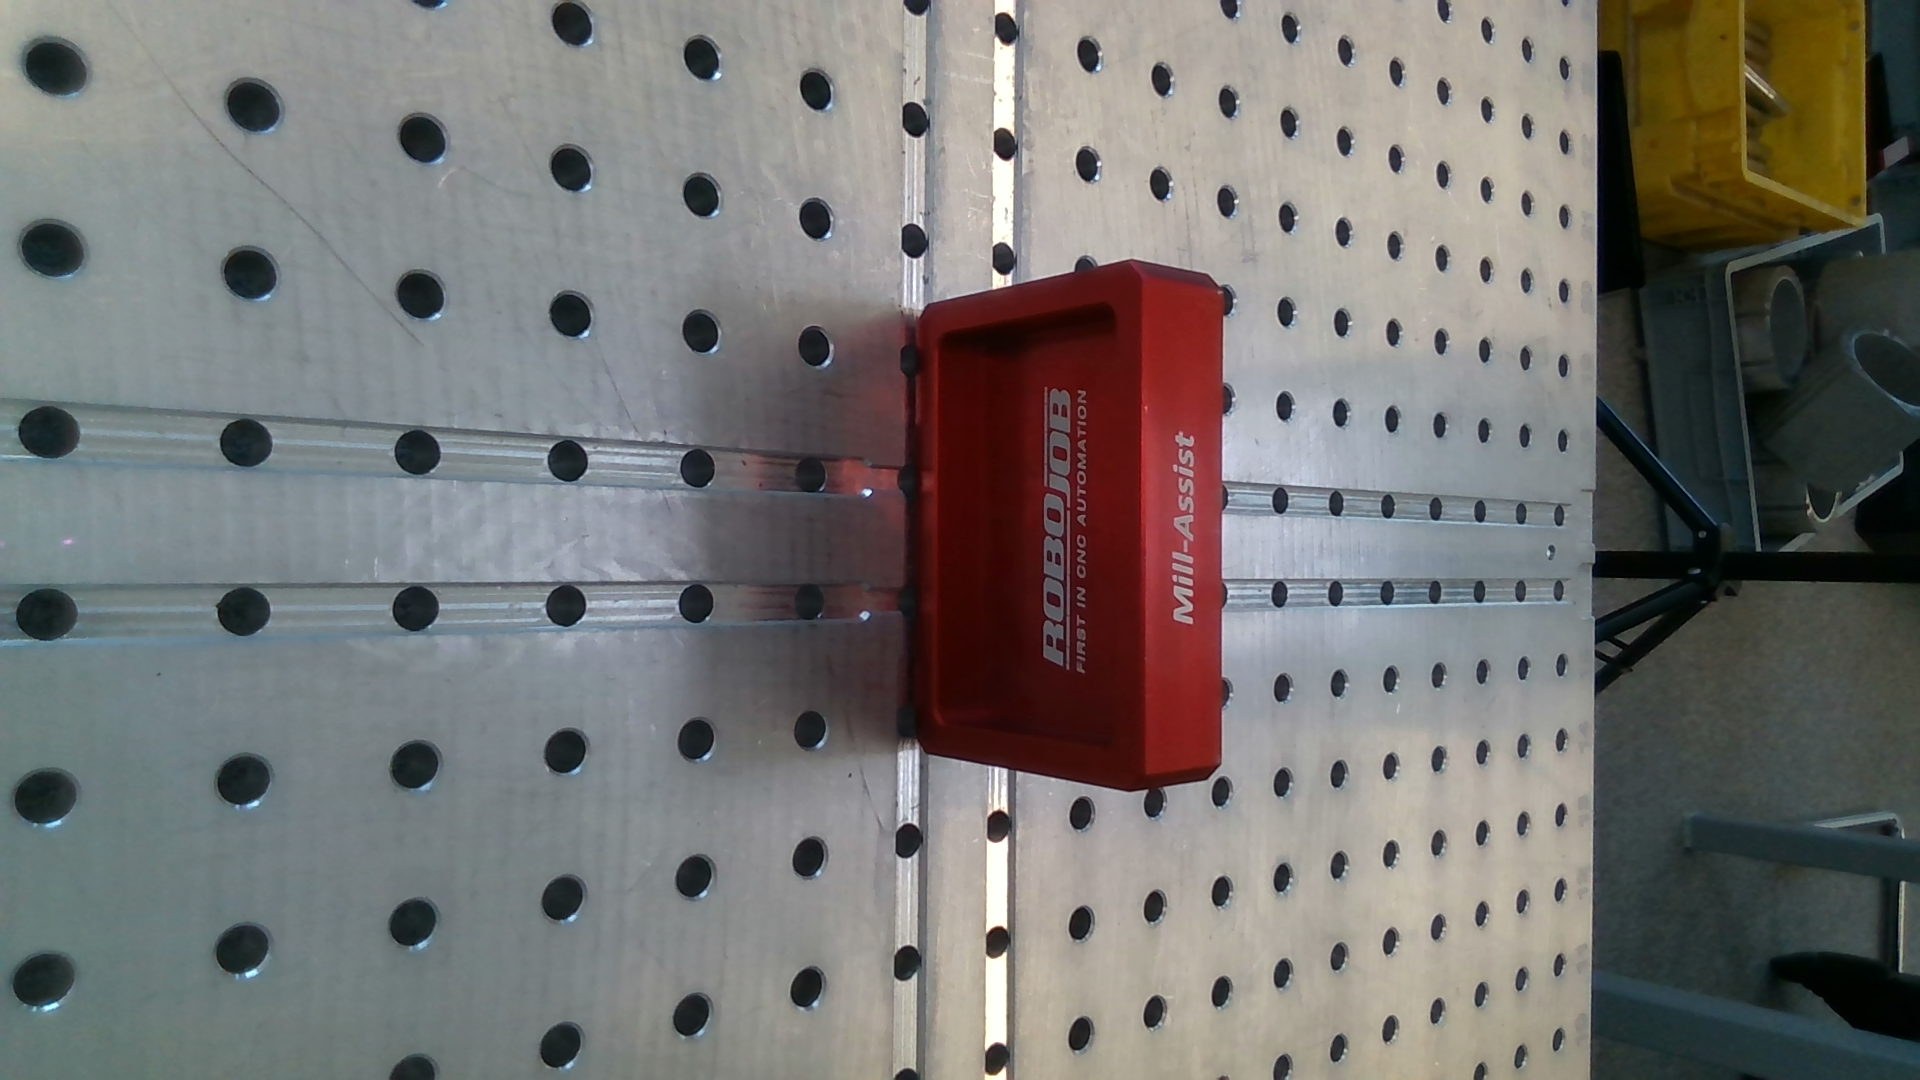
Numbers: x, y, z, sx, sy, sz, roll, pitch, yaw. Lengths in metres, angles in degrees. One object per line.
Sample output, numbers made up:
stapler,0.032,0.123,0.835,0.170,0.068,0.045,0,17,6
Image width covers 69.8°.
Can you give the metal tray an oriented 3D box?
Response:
metal tray,0.027,-0.003,0.374,0.030,0.090,0.130,0,90,-40
